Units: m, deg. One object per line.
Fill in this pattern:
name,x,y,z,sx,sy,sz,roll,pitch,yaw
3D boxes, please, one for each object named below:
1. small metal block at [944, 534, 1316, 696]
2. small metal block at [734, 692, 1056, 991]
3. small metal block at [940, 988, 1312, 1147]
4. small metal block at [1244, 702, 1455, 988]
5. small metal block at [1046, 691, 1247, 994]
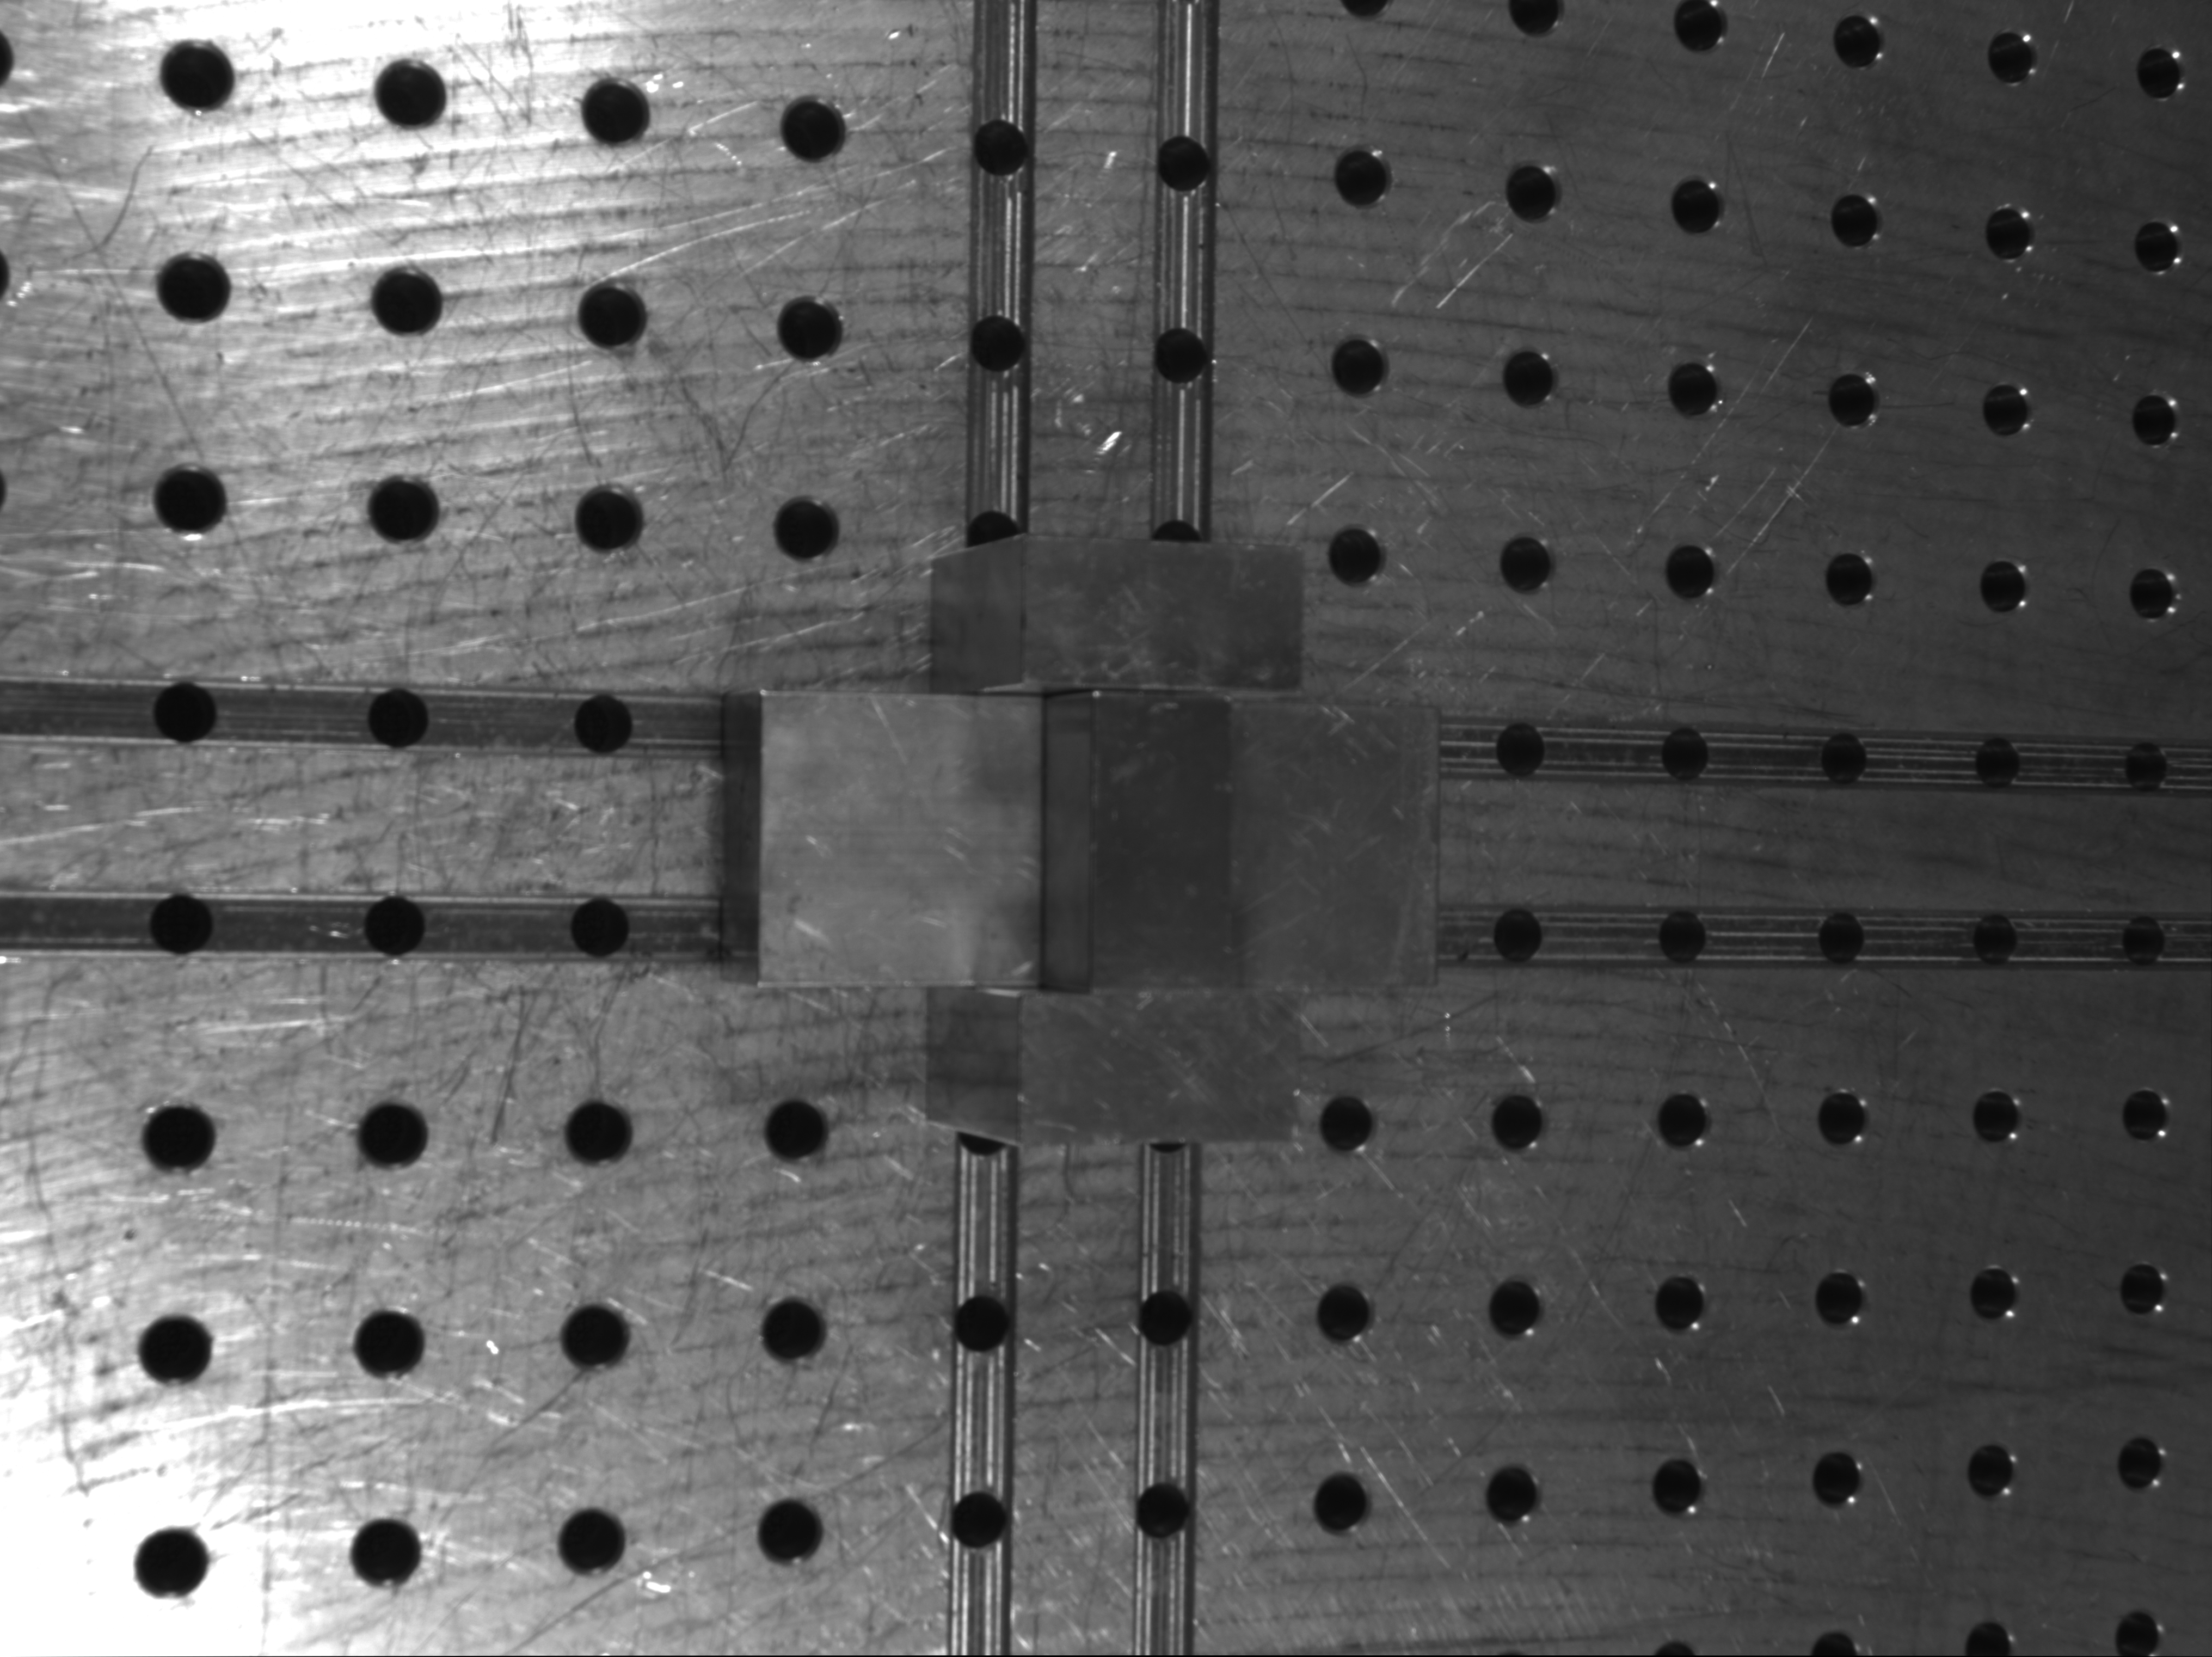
small metal block,0.003,-0.035,0.633,0.050,0.050,0.025,1,90,-20
small metal block,-0.037,0.002,0.632,0.050,0.025,0.050,1,90,-20
small metal block,0.003,0.040,0.633,0.050,0.050,0.025,1,90,-20
small metal block,0.034,0.003,0.658,0.050,0.025,0.050,1,89,-20
small metal block,0.003,0.003,0.633,0.025,0.050,0.050,1,90,-20
